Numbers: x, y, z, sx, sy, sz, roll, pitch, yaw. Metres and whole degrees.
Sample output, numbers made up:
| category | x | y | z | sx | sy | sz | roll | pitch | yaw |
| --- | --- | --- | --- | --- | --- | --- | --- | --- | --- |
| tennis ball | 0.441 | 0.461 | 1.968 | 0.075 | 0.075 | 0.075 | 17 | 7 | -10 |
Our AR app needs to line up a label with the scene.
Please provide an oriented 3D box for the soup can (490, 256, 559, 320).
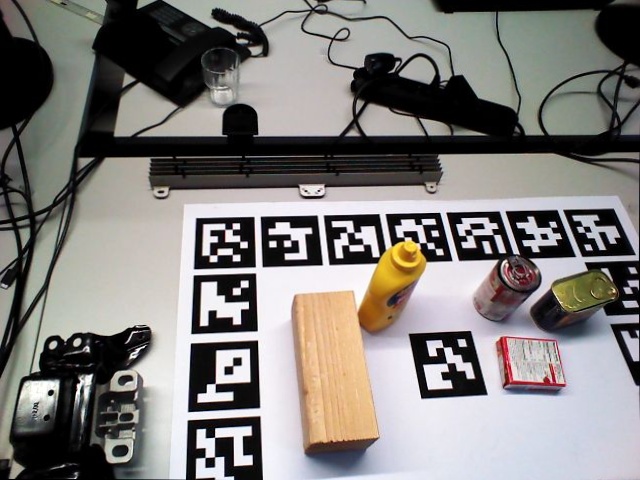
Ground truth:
| category | x | y | z | sx | sy | sz | roll | pitch | yaw |
| --- | --- | --- | --- | --- | --- | --- | --- | --- | --- |
| soup can | 0.305 | 0.072 | 0.785 | 0.068 | 0.102 | 0.067 | 2 | 60 | -3 |

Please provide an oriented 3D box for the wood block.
| category | x | y | z | sx | sy | sz | roll | pitch | yaw |
| --- | --- | --- | --- | --- | --- | --- | --- | --- | --- |
| wood block | 0.020 | 0.180 | 0.713 | 0.091 | 0.090 | 0.205 | 1 | 54 | -6 |

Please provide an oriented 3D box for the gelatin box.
| category | x | y | z | sx | sy | sz | roll | pitch | yaw |
| --- | --- | --- | --- | --- | --- | --- | --- | --- | --- |
| gelatin box | 0.330 | 0.192 | 0.760 | 0.089 | 0.030 | 0.073 | 7 | 60 | 2 |

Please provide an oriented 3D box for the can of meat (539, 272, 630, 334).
| category | x | y | z | sx | sy | sz | roll | pitch | yaw |
| --- | --- | --- | --- | --- | --- | --- | --- | --- | --- |
| can of meat | 0.402 | 0.100 | 0.797 | 0.101 | 0.084 | 0.057 | -12 | 61 | -15 |

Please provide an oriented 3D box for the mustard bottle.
| category | x | y | z | sx | sy | sz | roll | pitch | yaw |
| --- | --- | --- | --- | --- | --- | --- | --- | --- | --- |
| mustard bottle | 0.114 | 0.065 | 0.737 | 0.096 | 0.192 | 0.058 | -23 | 62 | -20 |
